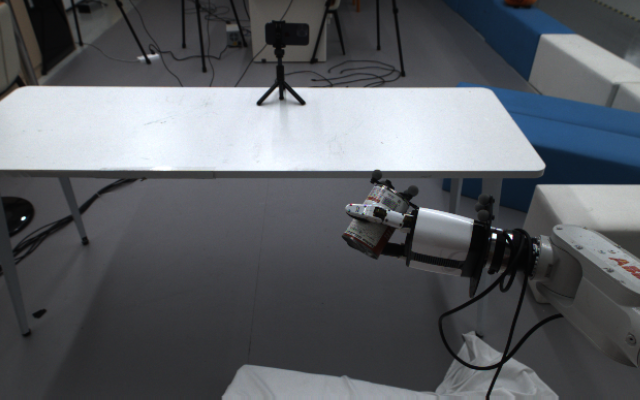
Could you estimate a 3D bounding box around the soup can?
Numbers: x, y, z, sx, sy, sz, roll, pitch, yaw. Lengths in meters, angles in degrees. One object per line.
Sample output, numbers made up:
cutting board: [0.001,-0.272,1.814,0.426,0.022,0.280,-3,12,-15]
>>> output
soup can: [0.091,0.035,0.775,0.067,0.067,0.101,27,79,31]
